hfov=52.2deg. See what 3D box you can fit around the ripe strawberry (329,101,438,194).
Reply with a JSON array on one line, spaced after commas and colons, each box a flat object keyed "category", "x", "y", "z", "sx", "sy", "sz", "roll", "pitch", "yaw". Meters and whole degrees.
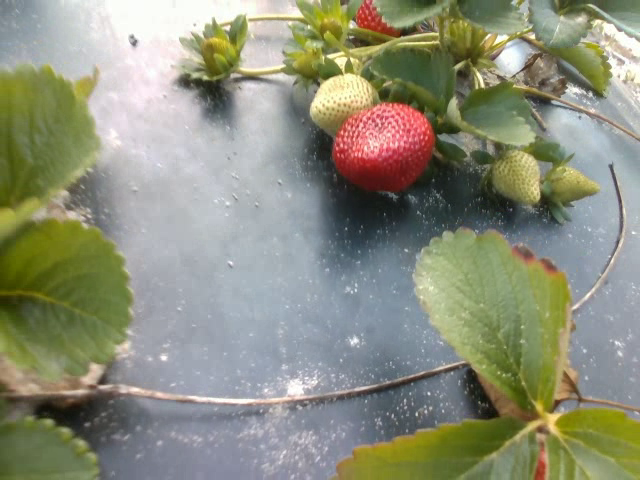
[{"category": "ripe strawberry", "x": 0.024, "y": -0.041, "z": 0.292, "sx": 0.051, "sy": 0.048, "sz": 0.055, "roll": -9, "pitch": 10, "yaw": 23}]
